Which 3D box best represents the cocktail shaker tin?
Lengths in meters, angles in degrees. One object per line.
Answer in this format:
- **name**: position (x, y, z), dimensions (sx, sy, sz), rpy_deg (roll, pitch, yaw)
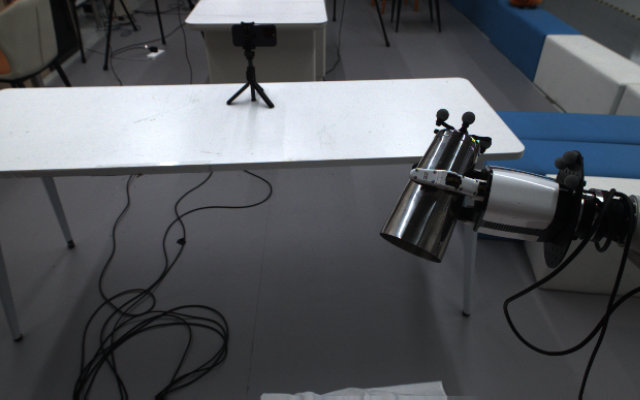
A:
- **cocktail shaker tin**: position (0.162, -0.013, 0.676), dimensions (0.093, 0.093, 0.170), rpy_deg (21, 81, 25)
